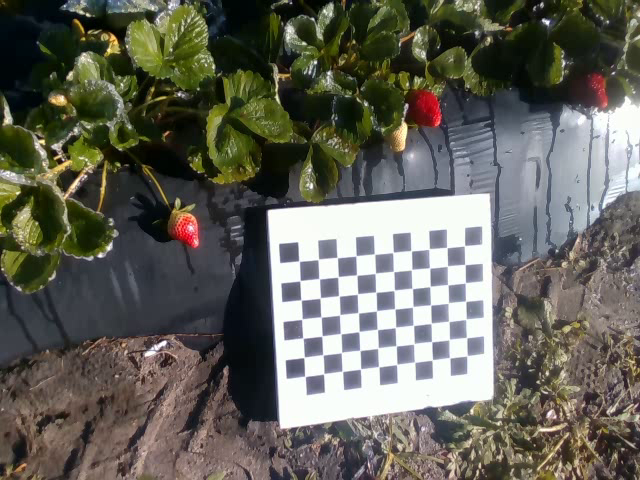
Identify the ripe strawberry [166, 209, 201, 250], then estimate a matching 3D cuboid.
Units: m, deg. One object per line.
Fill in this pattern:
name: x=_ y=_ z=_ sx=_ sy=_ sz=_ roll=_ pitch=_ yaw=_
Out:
ripe strawberry: x=-0.152 y=-0.011 z=0.746 sx=0.039 sy=0.053 sz=0.040 roll=-27 pitch=-5 yaw=-9
